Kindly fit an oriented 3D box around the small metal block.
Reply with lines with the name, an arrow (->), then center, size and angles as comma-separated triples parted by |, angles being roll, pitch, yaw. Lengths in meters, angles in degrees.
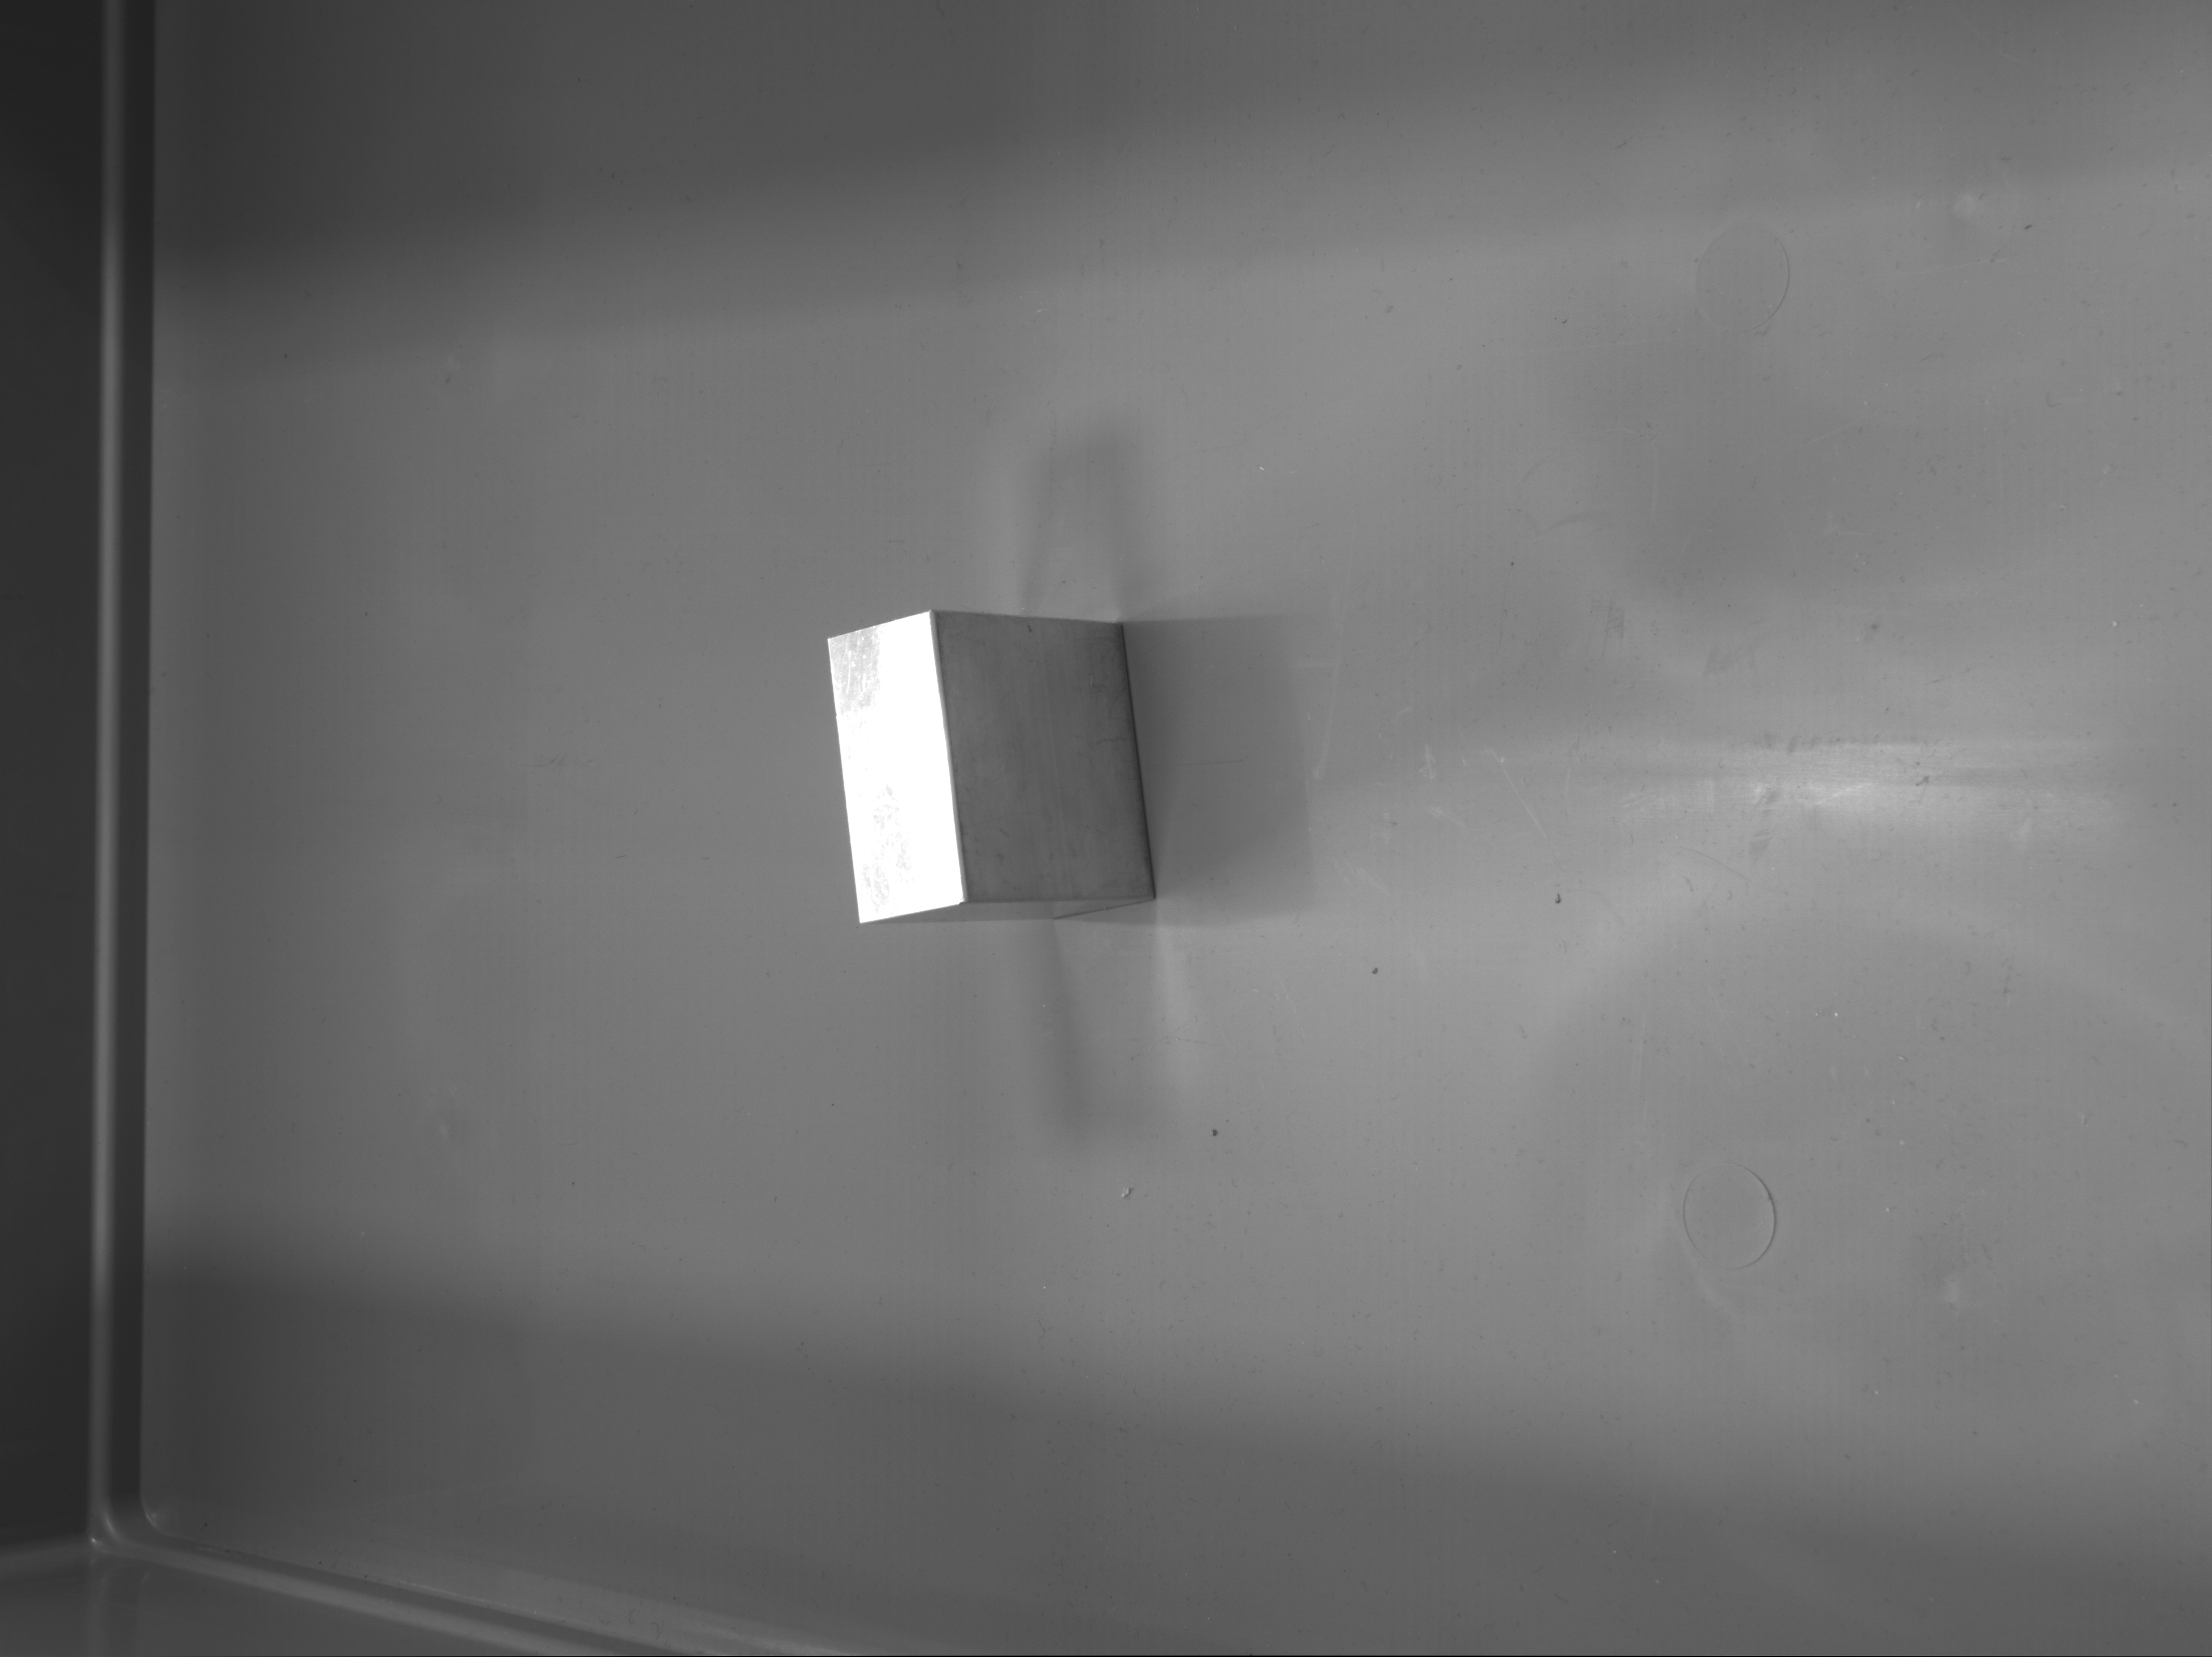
small metal block -> -0.020, -0.010, 0.642 | 0.025, 0.050, 0.050 | -12, 82, 40
